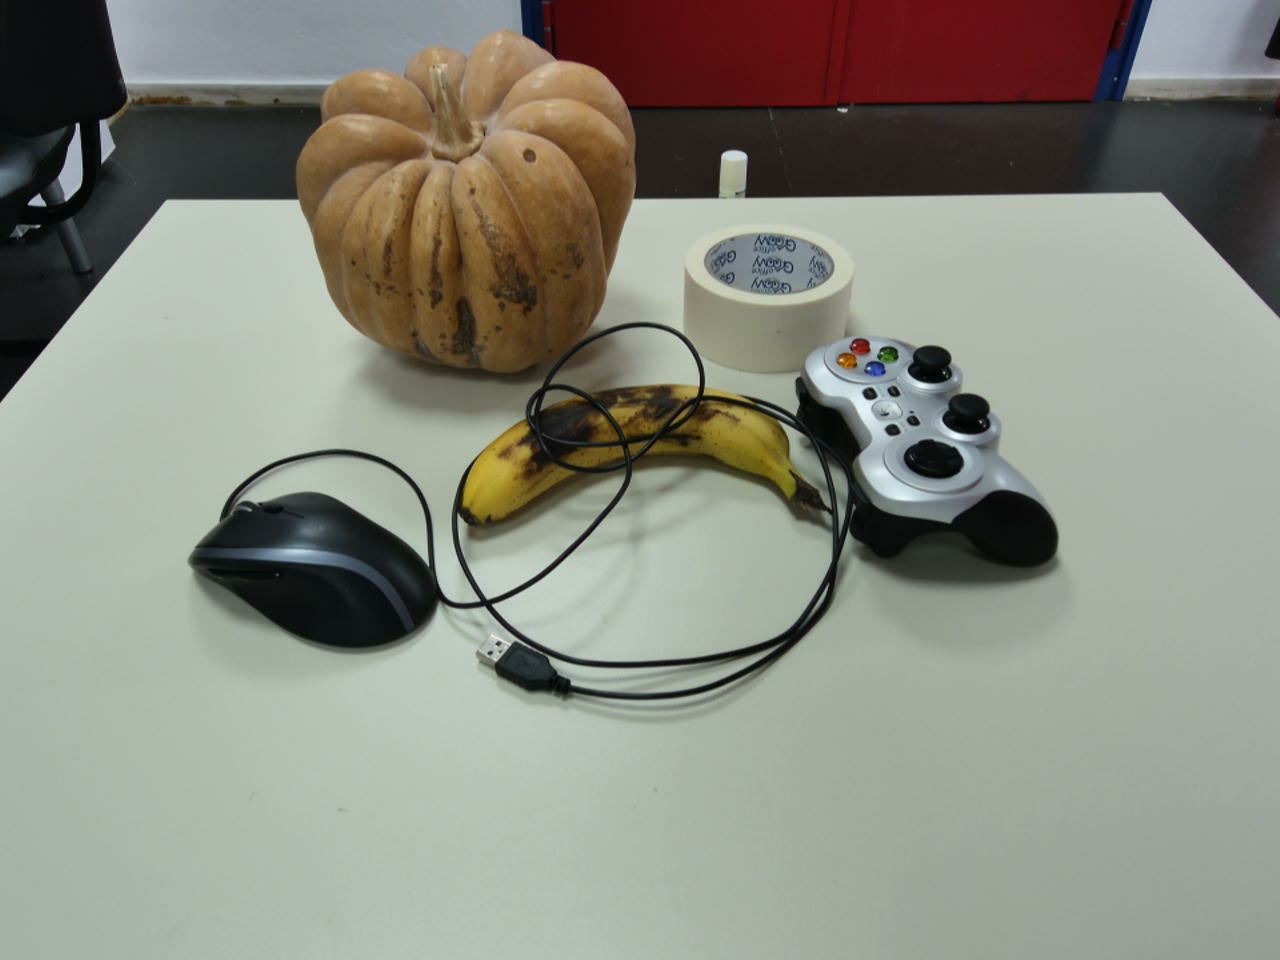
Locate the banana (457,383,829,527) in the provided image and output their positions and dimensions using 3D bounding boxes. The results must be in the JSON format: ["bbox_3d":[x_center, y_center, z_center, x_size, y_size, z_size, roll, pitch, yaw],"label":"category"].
[{"bbox_3d":[0.000,-0.017,0.536,0.187,0.039,0.094,-1,39,-2],"label":"banana"}]
